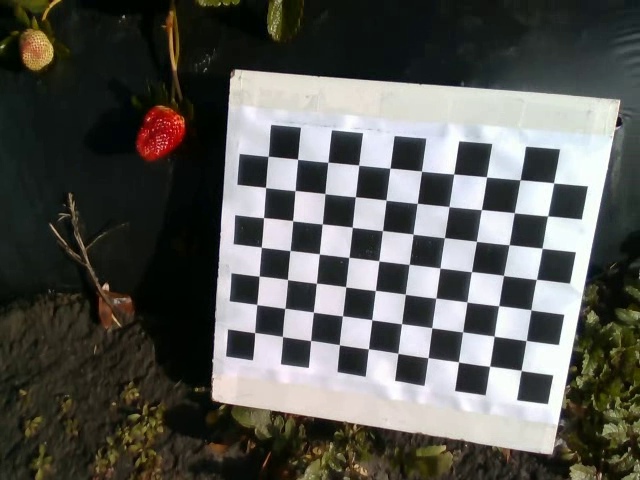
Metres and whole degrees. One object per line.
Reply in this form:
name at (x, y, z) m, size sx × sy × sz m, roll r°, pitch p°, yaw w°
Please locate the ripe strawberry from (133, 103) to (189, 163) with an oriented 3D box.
ripe strawberry at (-0.047, -0.030, 0.168) m, size 0.015 × 0.023 × 0.015 m, roll 14°, pitch -41°, yaw 6°
